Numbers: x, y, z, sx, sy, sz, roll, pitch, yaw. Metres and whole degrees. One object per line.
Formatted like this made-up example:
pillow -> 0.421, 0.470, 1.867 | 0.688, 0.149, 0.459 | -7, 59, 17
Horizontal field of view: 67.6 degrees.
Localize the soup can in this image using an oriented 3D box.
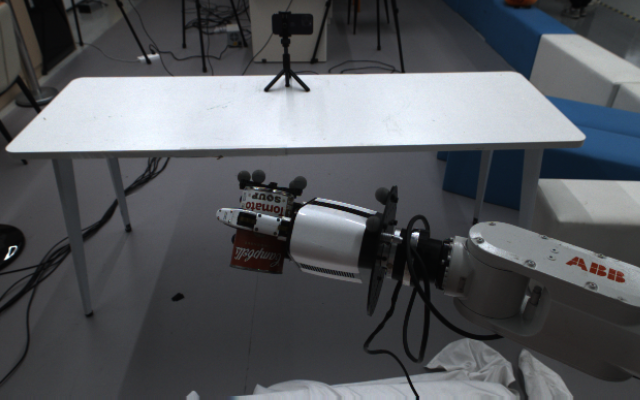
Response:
soup can -> -0.072, 0.040, 0.613 | 0.067, 0.101, 0.067 | 9, -6, 1
